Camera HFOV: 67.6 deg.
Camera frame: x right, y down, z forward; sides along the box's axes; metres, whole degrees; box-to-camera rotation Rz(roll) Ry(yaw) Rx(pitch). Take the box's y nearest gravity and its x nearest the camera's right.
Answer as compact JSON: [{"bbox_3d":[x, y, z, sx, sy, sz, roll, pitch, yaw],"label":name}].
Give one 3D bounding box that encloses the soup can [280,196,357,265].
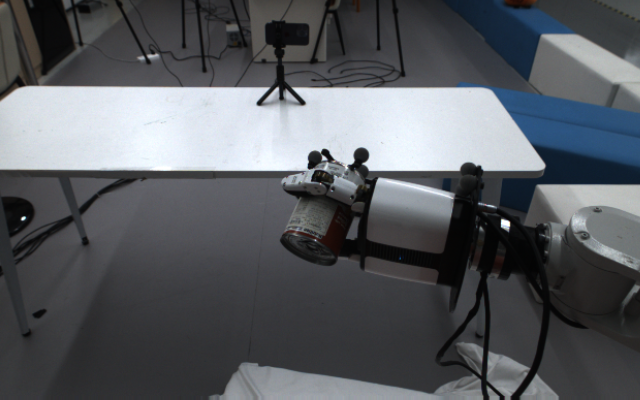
[{"bbox_3d":[0.007,0.013,0.551,0.067,0.067,0.101,15,63,18],"label":"soup can"}]
